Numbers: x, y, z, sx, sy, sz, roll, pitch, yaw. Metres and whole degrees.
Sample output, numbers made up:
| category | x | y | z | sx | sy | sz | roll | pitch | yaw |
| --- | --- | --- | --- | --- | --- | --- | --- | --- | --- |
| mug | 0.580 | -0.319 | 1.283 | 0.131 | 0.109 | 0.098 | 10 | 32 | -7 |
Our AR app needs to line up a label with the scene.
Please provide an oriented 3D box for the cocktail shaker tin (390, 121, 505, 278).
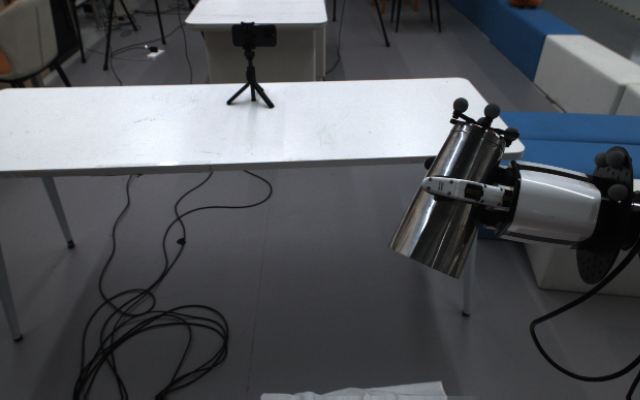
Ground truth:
| category | x | y | z | sx | sy | sz | roll | pitch | yaw |
| --- | --- | --- | --- | --- | --- | --- | --- | --- | --- |
| cocktail shaker tin | 0.161 | -0.005 | 0.583 | 0.093 | 0.170 | 0.093 | 23 | 0 | 0 |
